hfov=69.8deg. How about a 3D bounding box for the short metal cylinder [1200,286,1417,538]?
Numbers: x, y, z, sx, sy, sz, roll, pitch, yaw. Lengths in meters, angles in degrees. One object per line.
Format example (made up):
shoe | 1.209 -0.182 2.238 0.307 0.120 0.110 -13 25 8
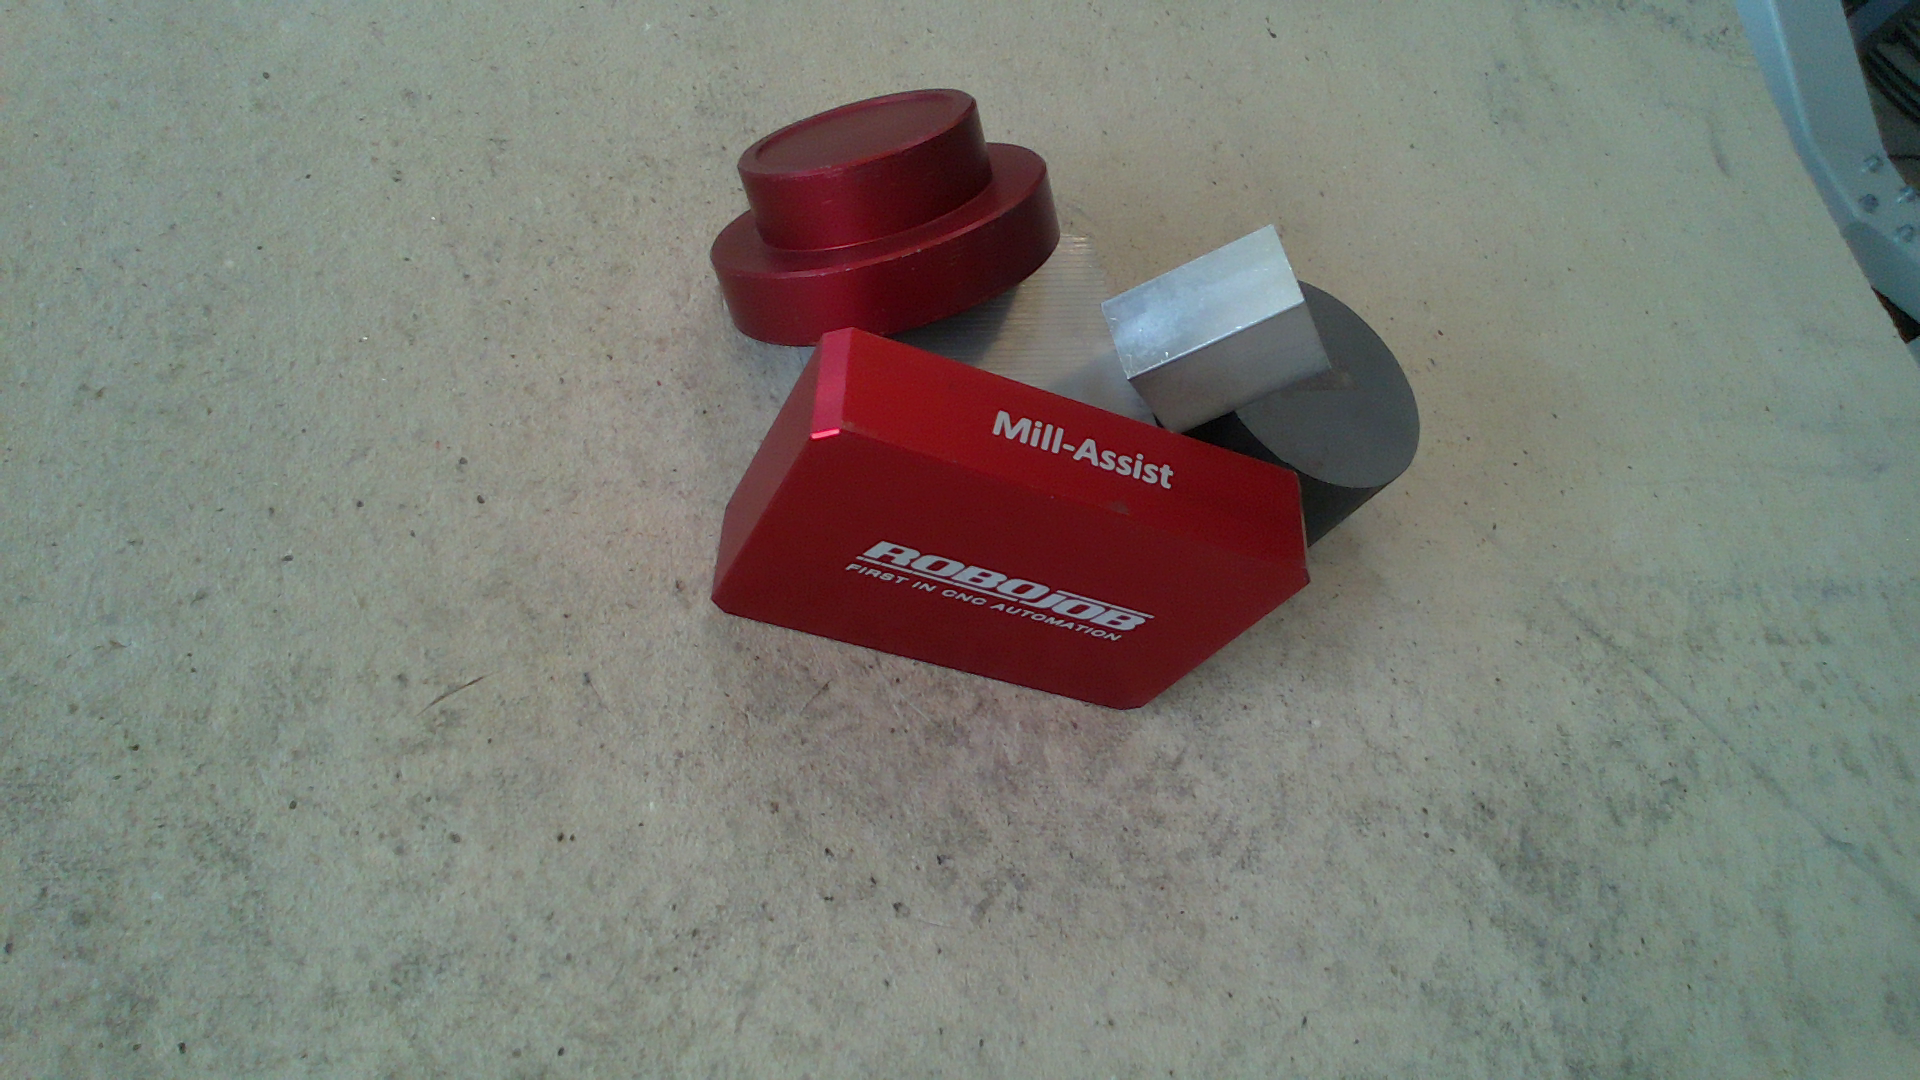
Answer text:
short metal cylinder | 0.101 -0.039 0.453 0.080 0.050 0.080 14 56 -21

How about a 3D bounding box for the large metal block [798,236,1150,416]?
large metal block | 0.003 -0.045 0.404 0.080 0.050 0.080 -1 62 -29

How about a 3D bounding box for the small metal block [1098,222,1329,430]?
small metal block | 0.073 -0.058 0.390 0.050 0.050 0.025 34 37 -64

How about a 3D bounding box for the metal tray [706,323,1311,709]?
metal tray | 0.011 0.000 0.353 0.130 0.090 0.030 16 55 -19

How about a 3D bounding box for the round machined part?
round machined part | -0.024 -0.096 0.388 0.098 0.098 0.042 -42 130 -39
